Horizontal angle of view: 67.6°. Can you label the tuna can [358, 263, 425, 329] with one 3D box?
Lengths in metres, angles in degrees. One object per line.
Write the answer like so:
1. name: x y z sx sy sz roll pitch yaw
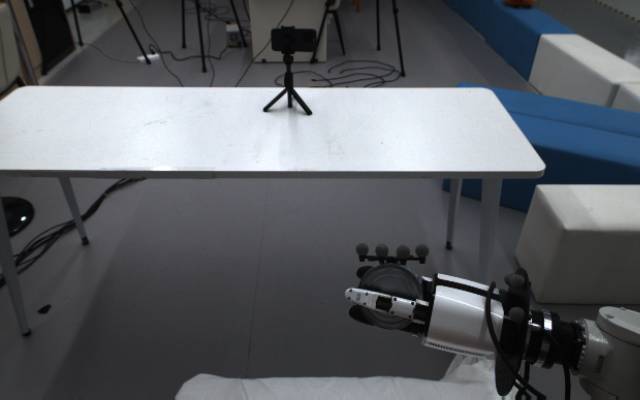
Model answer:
1. tuna can: 0.096 0.124 0.639 0.085 0.085 0.034 15 2 18
